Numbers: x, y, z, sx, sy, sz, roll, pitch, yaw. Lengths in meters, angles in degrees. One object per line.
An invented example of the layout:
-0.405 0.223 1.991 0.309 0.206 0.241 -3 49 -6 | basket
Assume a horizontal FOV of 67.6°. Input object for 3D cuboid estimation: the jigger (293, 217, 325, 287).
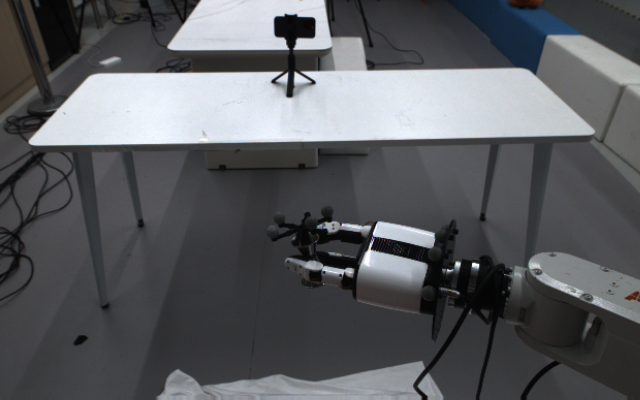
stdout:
-0.013 0.084 0.683 0.043 0.071 0.043 -11 24 5 | jigger
